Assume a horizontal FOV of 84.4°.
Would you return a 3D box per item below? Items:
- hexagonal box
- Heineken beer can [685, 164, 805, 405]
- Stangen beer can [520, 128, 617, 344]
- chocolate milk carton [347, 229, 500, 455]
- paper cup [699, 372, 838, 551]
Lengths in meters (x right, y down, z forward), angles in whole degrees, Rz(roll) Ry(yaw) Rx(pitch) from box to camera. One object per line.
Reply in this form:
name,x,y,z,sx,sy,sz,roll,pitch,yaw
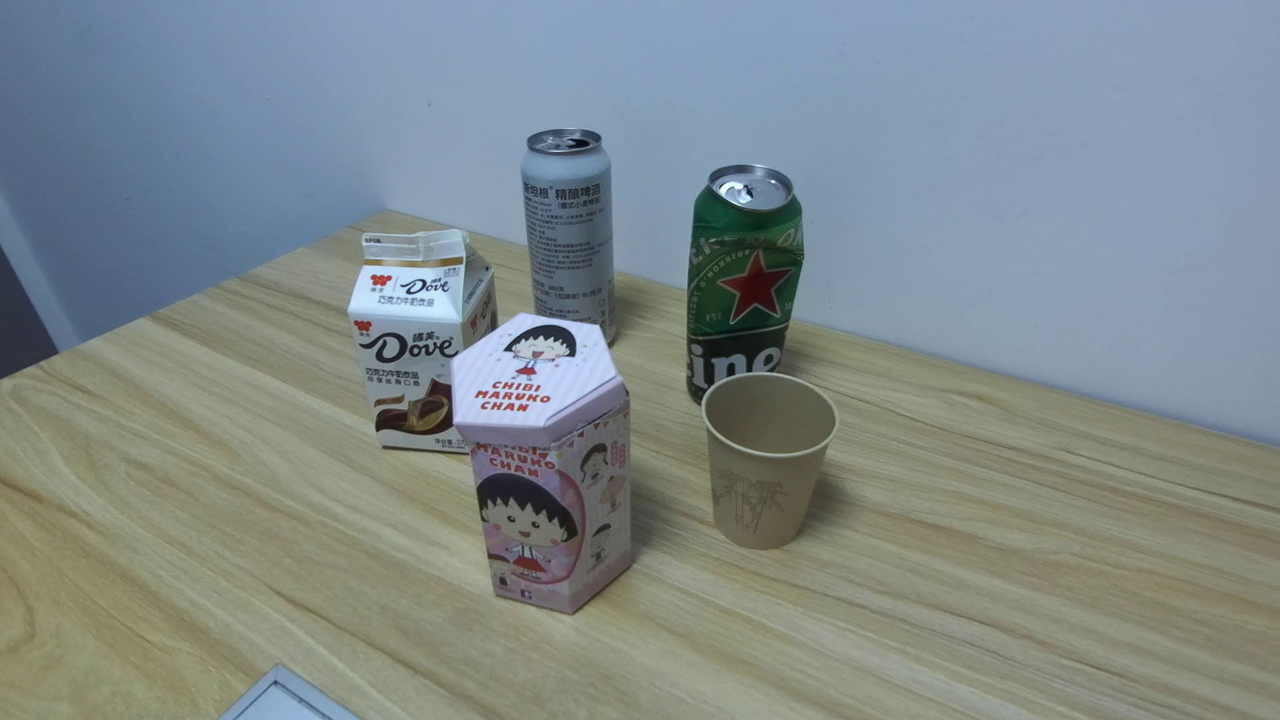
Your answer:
hexagonal box,-0.048,0.055,0.372,0.092,0.135,0.085,9,36,15
Heineken beer can,0.068,-0.043,0.484,0.068,0.168,0.069,18,40,20
Stangen beer can,-0.054,-0.088,0.551,0.067,0.171,0.067,0,33,1
chocolate milk carton,-0.138,-0.019,0.470,0.075,0.148,0.074,5,35,4
paper cup,0.070,0.061,0.404,0.075,0.082,0.075,0,35,0
